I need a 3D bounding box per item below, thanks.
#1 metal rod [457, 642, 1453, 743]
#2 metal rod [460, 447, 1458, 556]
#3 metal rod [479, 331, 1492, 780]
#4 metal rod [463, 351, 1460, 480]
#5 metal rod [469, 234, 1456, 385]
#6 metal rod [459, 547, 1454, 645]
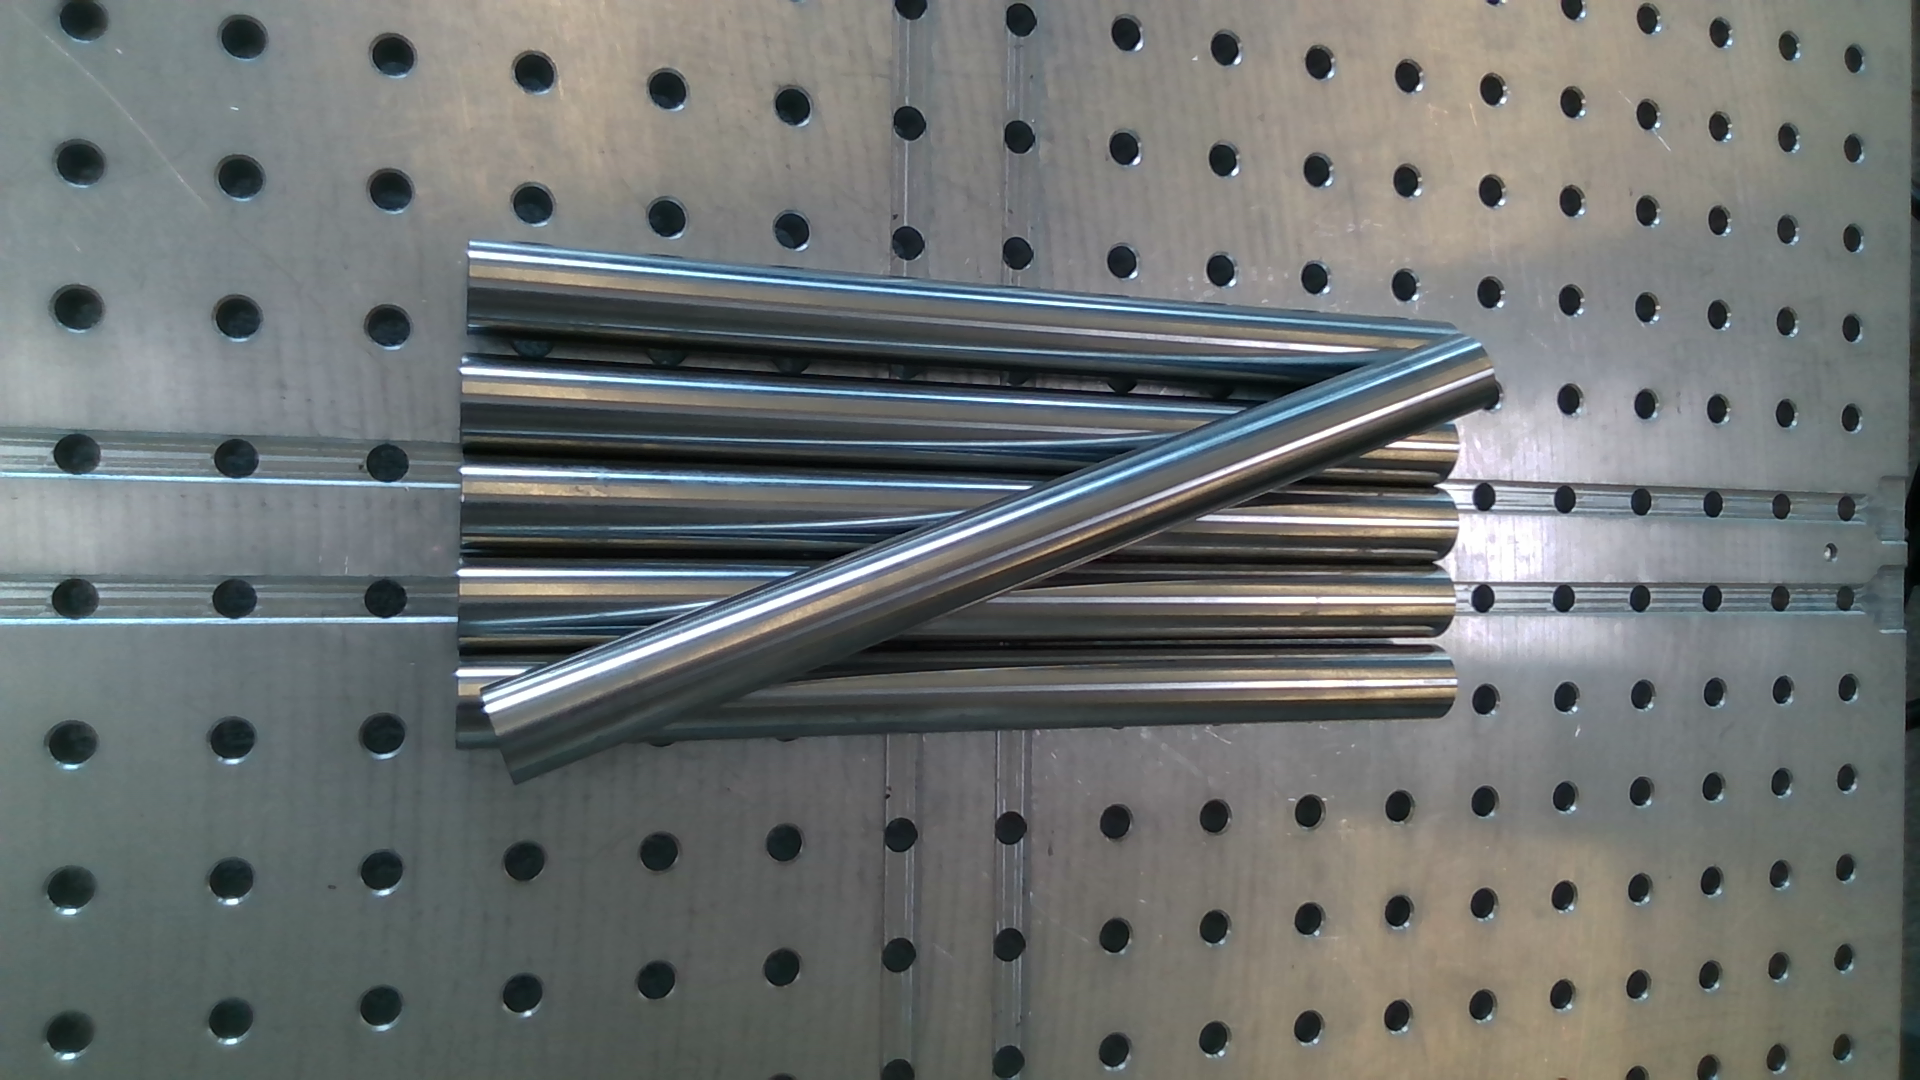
[{"bbox_3d":[0.013,0.042,0.402,0.300,0.025,0.025,1,89,-20],"label":"metal rod"},{"bbox_3d":[0.014,-0.009,0.401,0.300,0.025,0.025,1,90,-20],"label":"metal rod"},{"bbox_3d":[0.022,-0.003,0.378,0.300,0.025,0.025,-20,97,-19],"label":"metal rod"},{"bbox_3d":[0.015,-0.033,0.401,0.300,0.025,0.025,1,90,-20],"label":"metal rod"},{"bbox_3d":[0.016,-0.063,0.401,0.300,0.025,0.025,1,90,-20],"label":"metal rod"},{"bbox_3d":[0.014,0.016,0.402,0.300,0.025,0.025,1,90,-20],"label":"metal rod"}]
